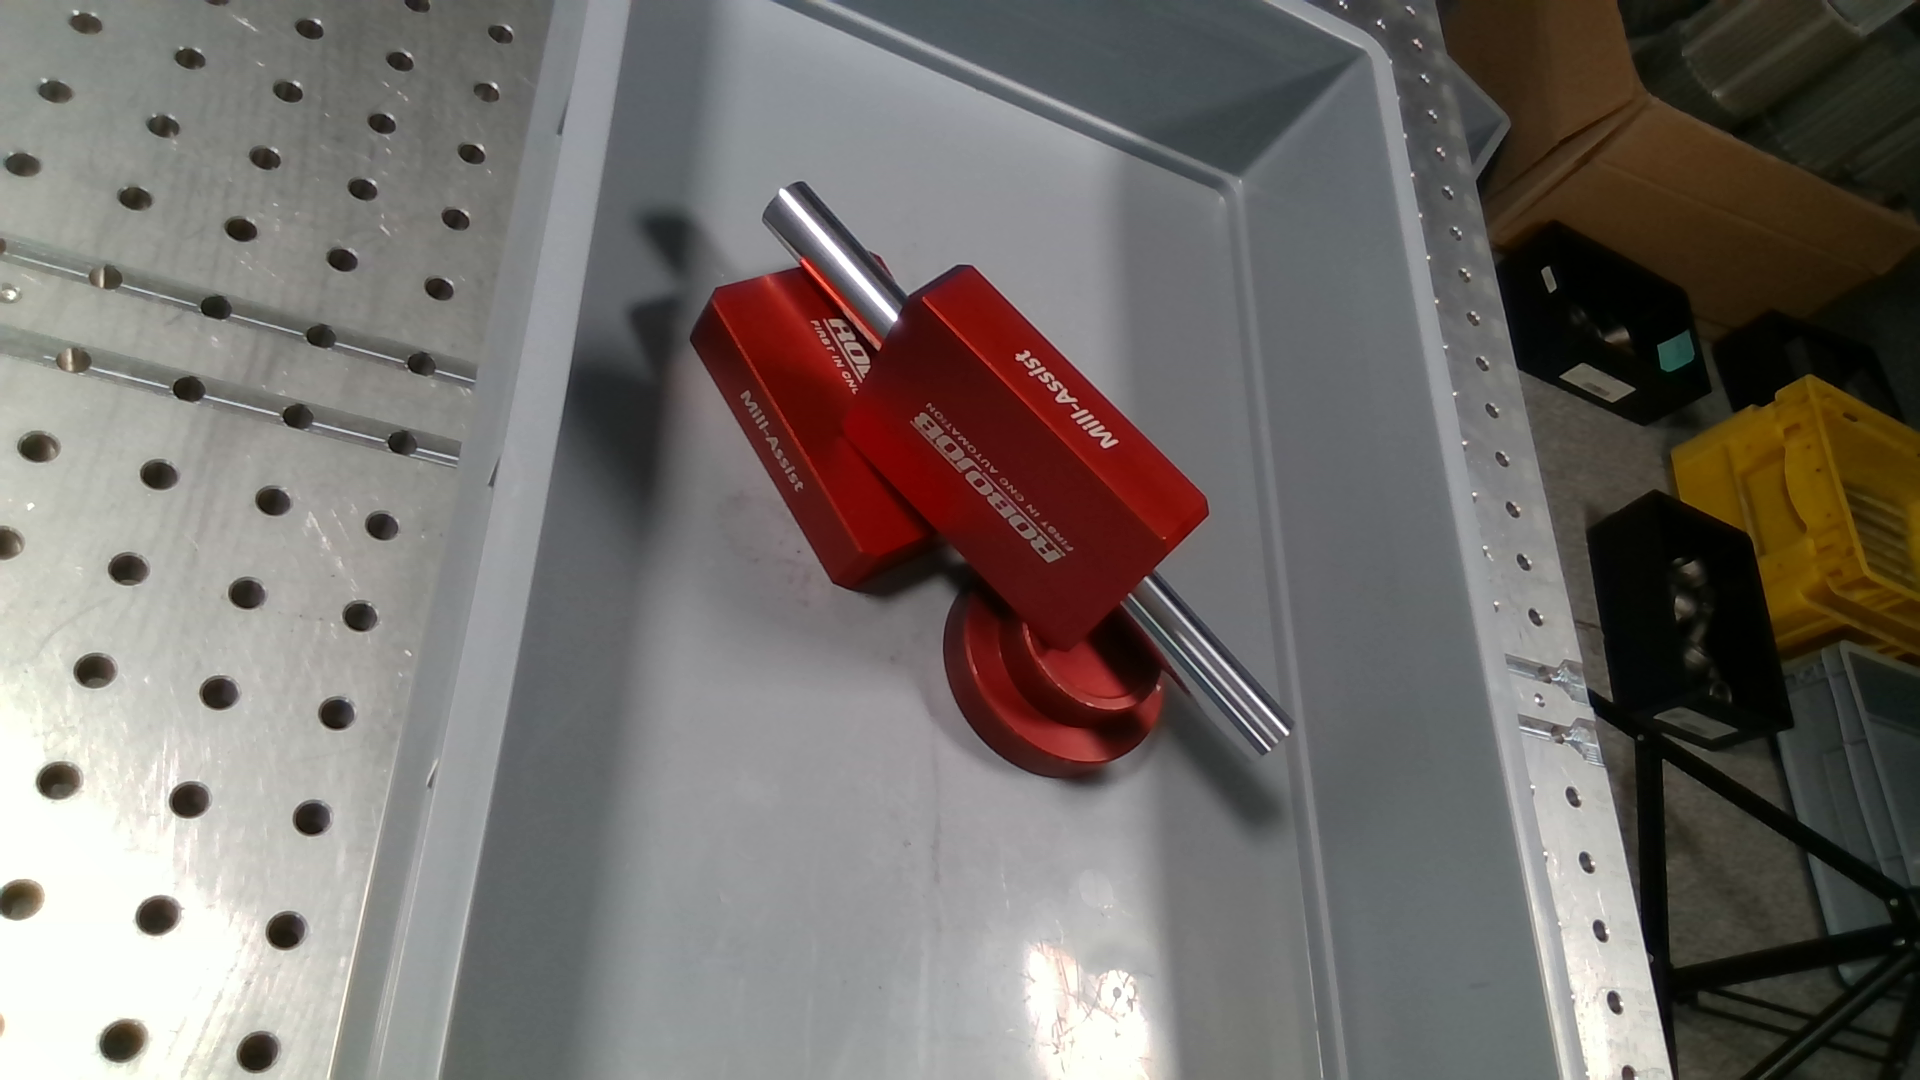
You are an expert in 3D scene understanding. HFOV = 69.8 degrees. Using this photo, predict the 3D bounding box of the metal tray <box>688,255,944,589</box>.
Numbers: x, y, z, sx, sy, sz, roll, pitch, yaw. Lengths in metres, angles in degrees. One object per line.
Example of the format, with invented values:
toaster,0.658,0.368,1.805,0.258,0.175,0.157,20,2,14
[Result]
metal tray,-0.044,-0.054,0.583,0.090,0.030,0.130,-24,79,-38

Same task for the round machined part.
round machined part,0.045,0.046,0.576,0.098,0.042,0.098,14,59,-25

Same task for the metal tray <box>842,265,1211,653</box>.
metal tray,0.021,-0.028,0.522,0.130,0.090,0.030,46,53,6

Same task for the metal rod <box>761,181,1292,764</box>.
metal rod,0.025,-0.030,0.566,0.300,0.025,0.025,48,51,5

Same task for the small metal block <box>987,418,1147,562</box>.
small metal block,0.047,-0.022,0.610,0.050,0.050,0.025,-36,87,-39
